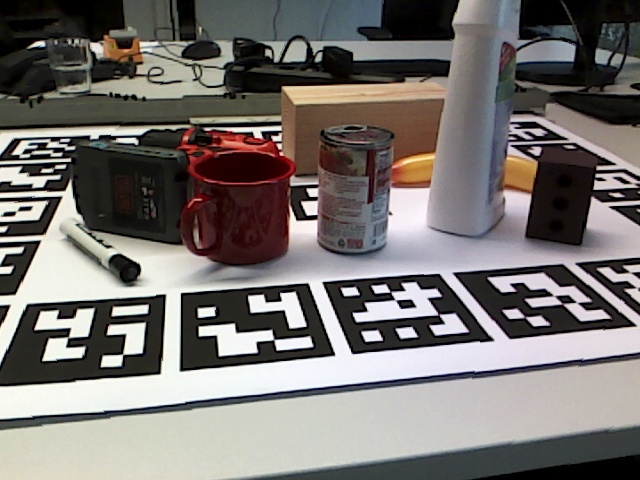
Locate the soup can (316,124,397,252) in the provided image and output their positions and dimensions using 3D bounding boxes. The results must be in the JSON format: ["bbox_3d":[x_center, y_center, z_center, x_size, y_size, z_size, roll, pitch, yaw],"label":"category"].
[{"bbox_3d":[0.031,-0.048,0.561,0.068,0.102,0.068,2,22,-1],"label":"soup can"}]

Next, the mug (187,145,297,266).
[{"bbox_3d":[-0.074,-0.025,0.541,0.094,0.081,0.117,18,34,25],"label":"mug"}]

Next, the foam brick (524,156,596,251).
[{"bbox_3d":[0.232,-0.036,0.598,0.053,0.078,0.051,10,25,19],"label":"foam brick"}]

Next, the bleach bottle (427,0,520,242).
[{"bbox_3d":[0.148,-0.130,0.584,0.068,0.250,0.102,9,26,14],"label":"bleach bottle"}]

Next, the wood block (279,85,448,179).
[{"bbox_3d":[0.057,-0.139,0.778,0.205,0.091,0.090,-4,28,-13],"label":"wood block"}]

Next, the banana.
[{"bbox_3d":[0.155,-0.086,0.727,0.197,0.039,0.074,5,40,1],"label":"banana"}]

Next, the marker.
[{"bbox_3d":[-0.187,0.014,0.530,0.019,0.019,0.122,-23,36,-37],"label":"marker"}]

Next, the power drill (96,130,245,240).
[{"bbox_3d":[-0.153,-0.070,0.667,0.185,0.057,0.187,12,27,12],"label":"power drill"}]
